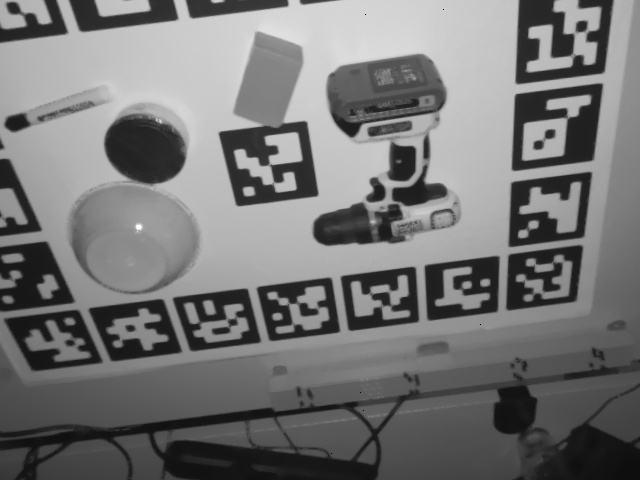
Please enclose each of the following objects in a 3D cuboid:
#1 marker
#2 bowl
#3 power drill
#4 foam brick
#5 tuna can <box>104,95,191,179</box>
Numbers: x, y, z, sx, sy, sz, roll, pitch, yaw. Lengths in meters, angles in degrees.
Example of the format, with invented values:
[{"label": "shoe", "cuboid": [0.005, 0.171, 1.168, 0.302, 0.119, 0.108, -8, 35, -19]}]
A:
[{"label": "marker", "cuboid": [-0.274, -0.147, 0.715, 0.121, 0.020, 0.019, -15, 122, 6]}, {"label": "bowl", "cuboid": [-0.217, 0.001, 0.811, 0.162, 0.055, 0.160, -5, 131, -5]}, {"label": "power drill", "cuboid": [0.082, -0.095, 0.759, 0.184, 0.058, 0.186, -6, 127, 5]}, {"label": "foam brick", "cuboid": [-0.046, -0.176, 0.701, 0.052, 0.053, 0.077, 14, 121, -11]}, {"label": "tuna can", "cuboid": [-0.182, -0.110, 0.738, 0.086, 0.034, 0.085, -1, 124, 0]}]
